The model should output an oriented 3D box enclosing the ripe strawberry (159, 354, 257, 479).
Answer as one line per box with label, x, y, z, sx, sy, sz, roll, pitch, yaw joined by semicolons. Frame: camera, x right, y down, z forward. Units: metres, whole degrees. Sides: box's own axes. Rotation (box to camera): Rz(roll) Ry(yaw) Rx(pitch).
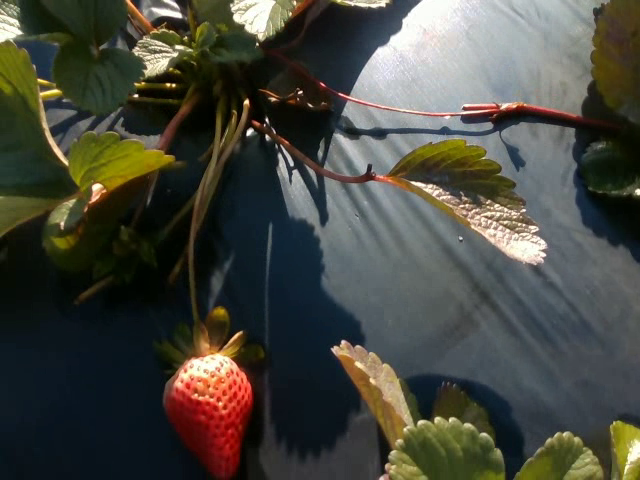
ripe strawberry;-0.044;0.073;0.248;0.043;0.064;0.044;9;-42;-42
